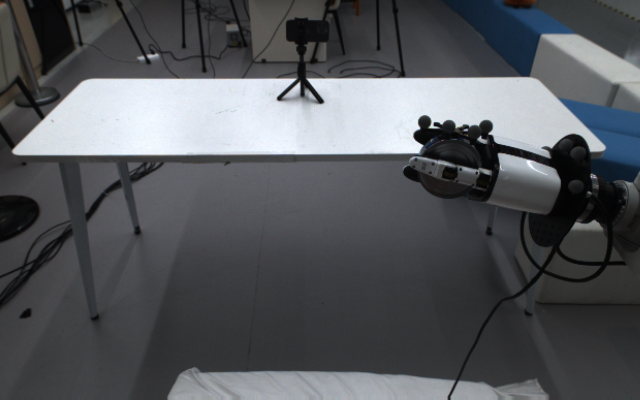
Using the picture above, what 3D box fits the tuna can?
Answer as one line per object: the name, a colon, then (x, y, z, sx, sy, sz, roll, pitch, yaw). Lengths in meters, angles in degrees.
tuna can: (0.179, -0.047, 0.669, 0.085, 0.085, 0.034, 7, 22, 7)
